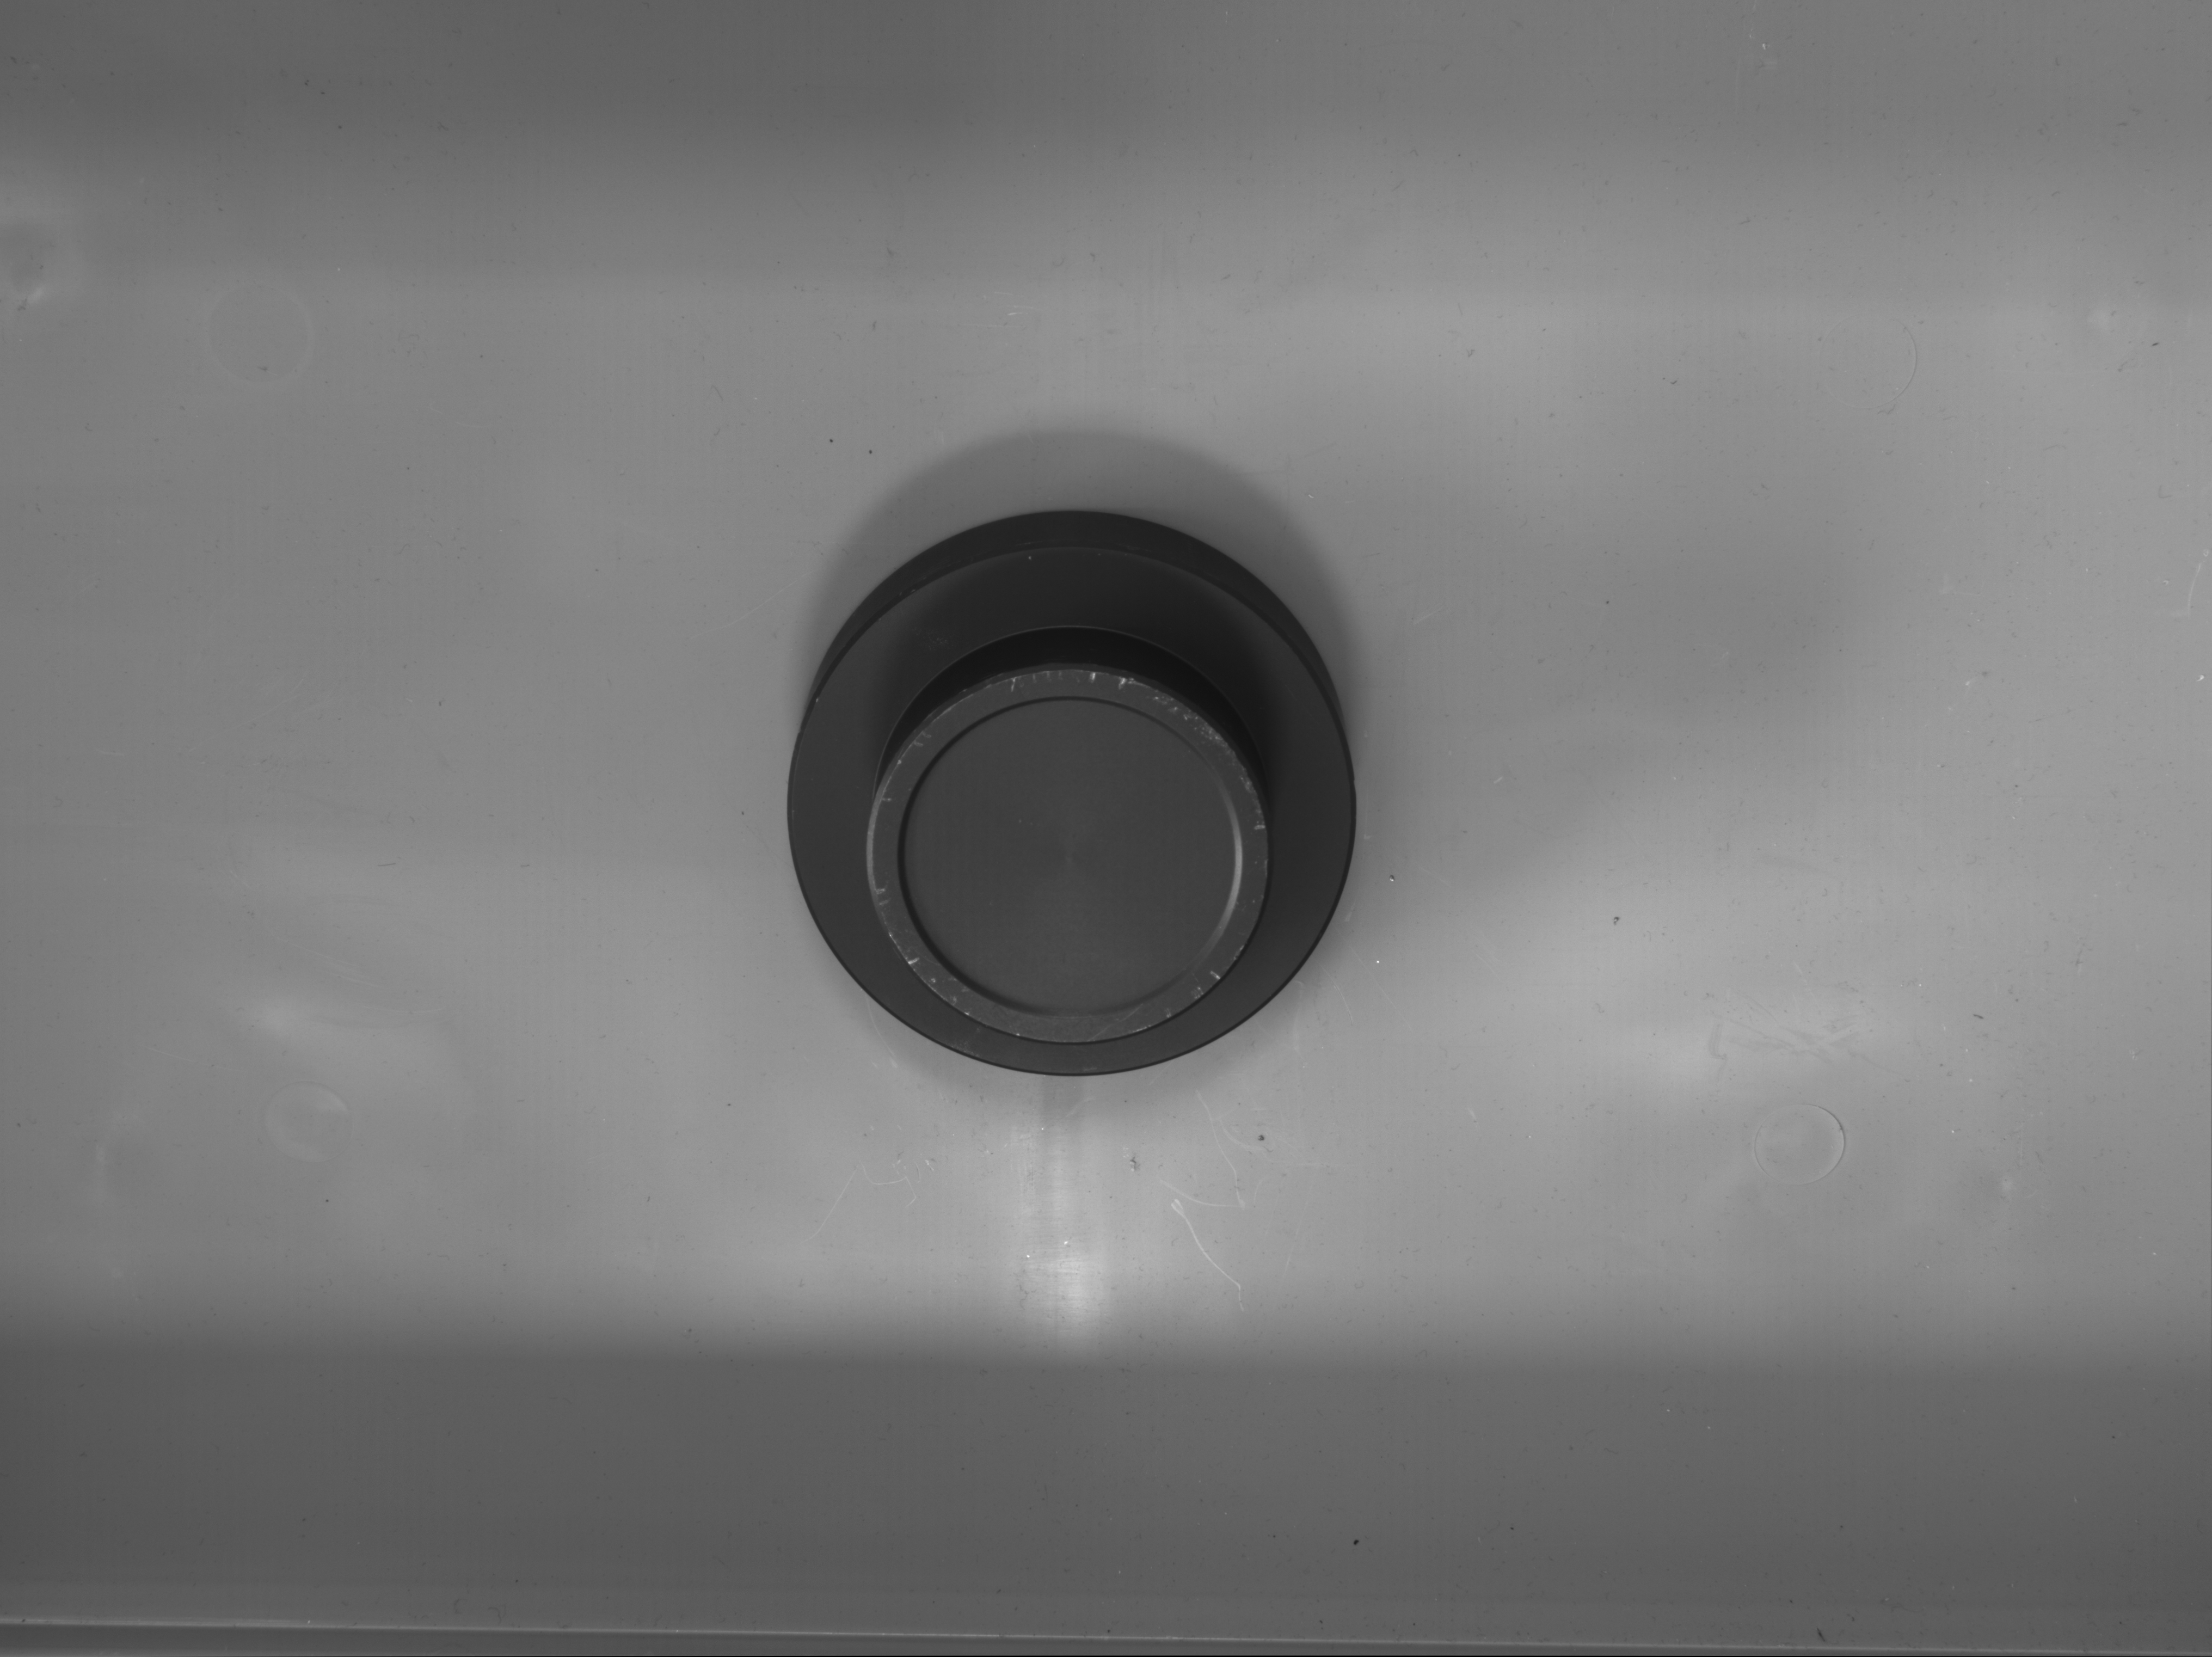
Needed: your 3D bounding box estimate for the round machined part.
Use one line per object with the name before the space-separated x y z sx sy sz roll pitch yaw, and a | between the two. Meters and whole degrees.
round machined part | -0.006 -0.002 0.632 0.098 0.042 0.098 0 110 0
